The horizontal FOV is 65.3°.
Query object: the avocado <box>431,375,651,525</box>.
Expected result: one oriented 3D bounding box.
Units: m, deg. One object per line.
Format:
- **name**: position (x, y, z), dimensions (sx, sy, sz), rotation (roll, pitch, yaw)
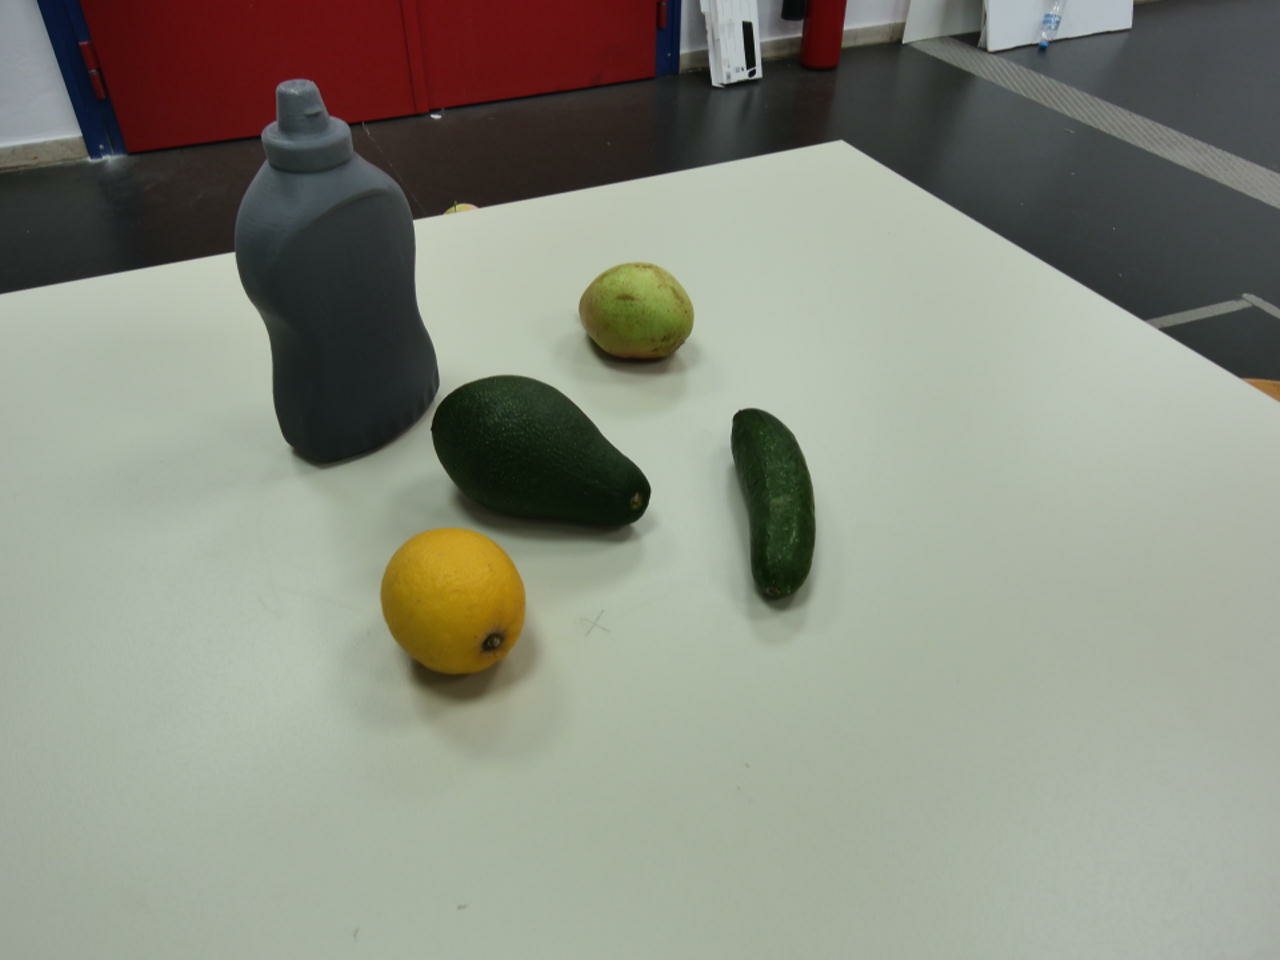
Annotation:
- **avocado**: position (-0.053, -0.013, 0.506), dimensions (0.110, 0.071, 0.072), rotation (29, 47, 31)
